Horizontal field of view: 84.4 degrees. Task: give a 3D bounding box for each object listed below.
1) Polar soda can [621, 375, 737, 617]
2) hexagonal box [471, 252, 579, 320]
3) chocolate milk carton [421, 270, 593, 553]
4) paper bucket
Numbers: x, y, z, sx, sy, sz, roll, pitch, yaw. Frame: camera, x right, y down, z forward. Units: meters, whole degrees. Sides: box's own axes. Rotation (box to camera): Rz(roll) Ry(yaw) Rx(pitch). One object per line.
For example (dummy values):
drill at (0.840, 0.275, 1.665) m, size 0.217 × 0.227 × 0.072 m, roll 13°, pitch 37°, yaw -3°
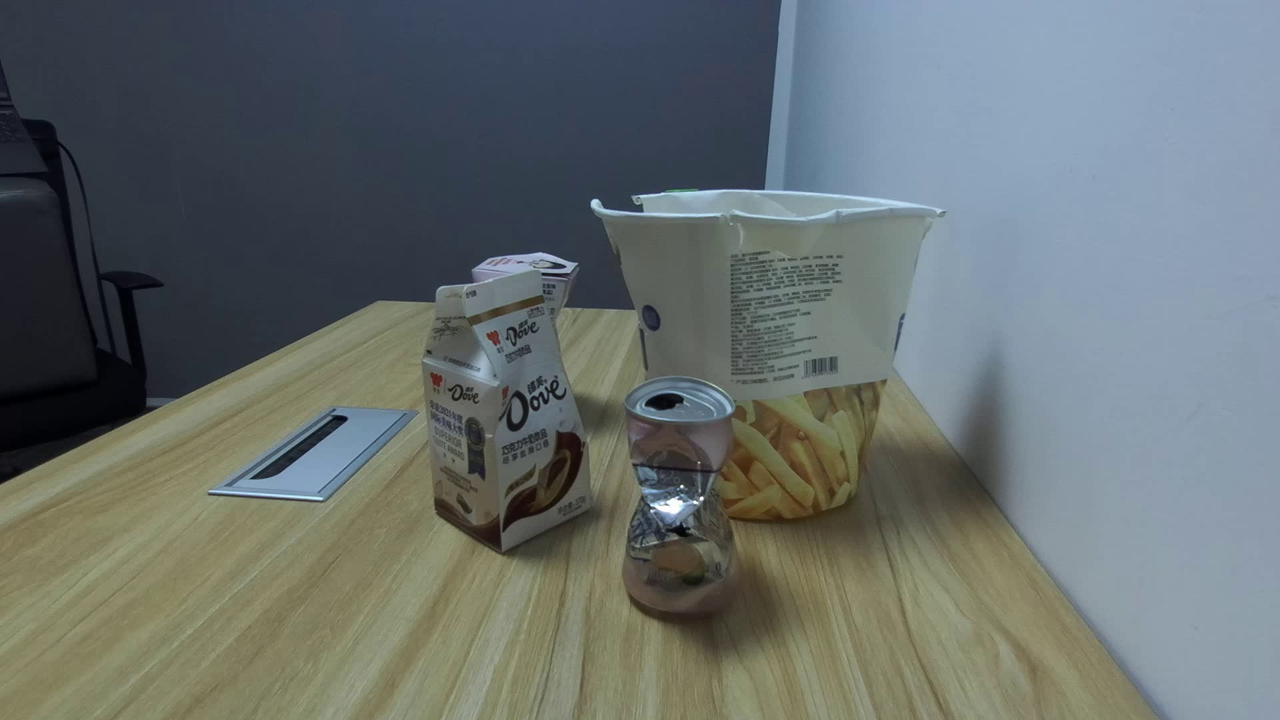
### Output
Polar soda can at (0.021, 0.072, 0.364) m, size 0.070 × 0.114 × 0.074 m, roll -19°, pitch 23°, yaw -34°
hexagonal box at (-0.093, -0.017, 0.600) m, size 0.089 × 0.134 × 0.091 m, roll 21°, pitch 27°, yaw 40°
chocolate milk carton at (-0.079, 0.024, 0.435) m, size 0.072 × 0.155 × 0.085 m, roll 17°, pitch 24°, yaw 41°
paper bucket at (0.081, -0.011, 0.483) m, size 0.203 × 0.197 × 0.145 m, roll -11°, pitch 19°, yaw -32°
